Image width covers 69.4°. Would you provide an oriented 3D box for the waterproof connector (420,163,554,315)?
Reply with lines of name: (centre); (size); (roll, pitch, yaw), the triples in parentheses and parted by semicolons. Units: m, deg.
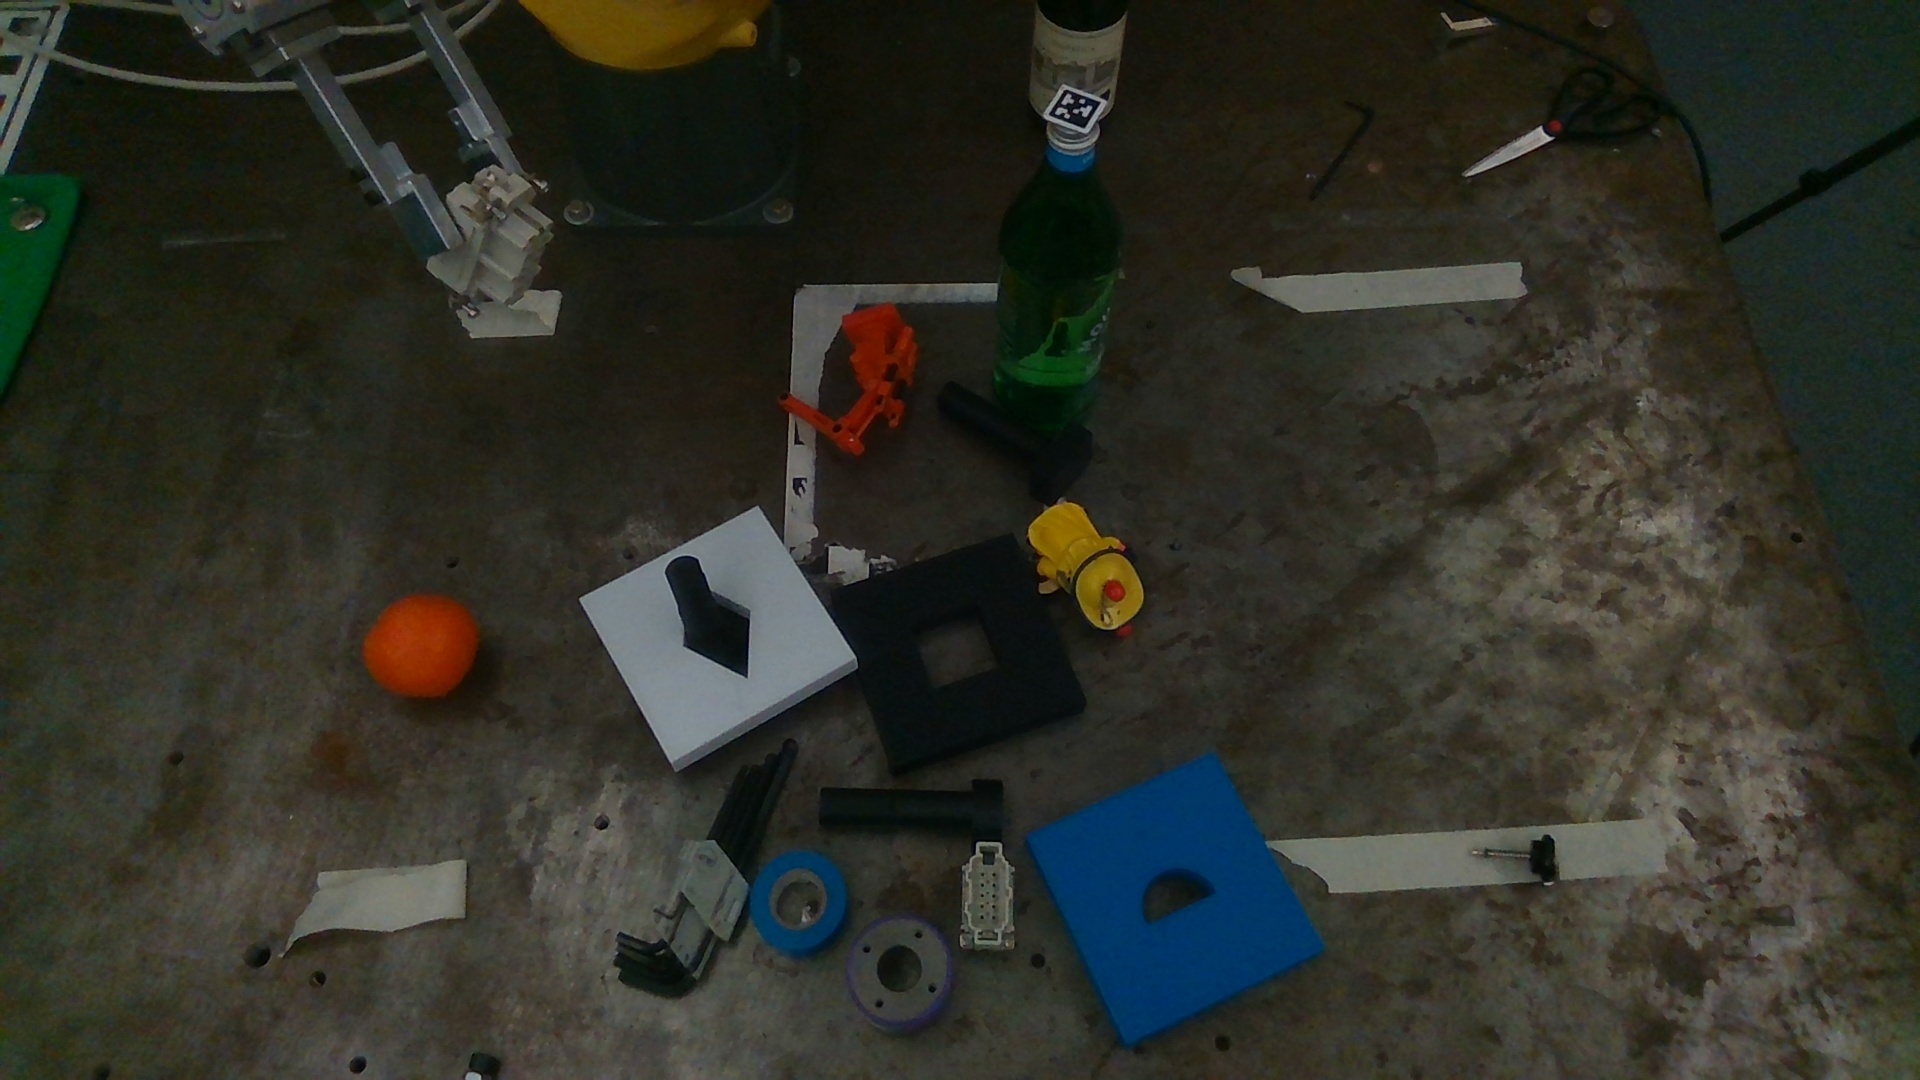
waterproof connector: (-0.199, -0.126, 0.588); (0.038, 0.069, 0.036); (36, 41, -5)
